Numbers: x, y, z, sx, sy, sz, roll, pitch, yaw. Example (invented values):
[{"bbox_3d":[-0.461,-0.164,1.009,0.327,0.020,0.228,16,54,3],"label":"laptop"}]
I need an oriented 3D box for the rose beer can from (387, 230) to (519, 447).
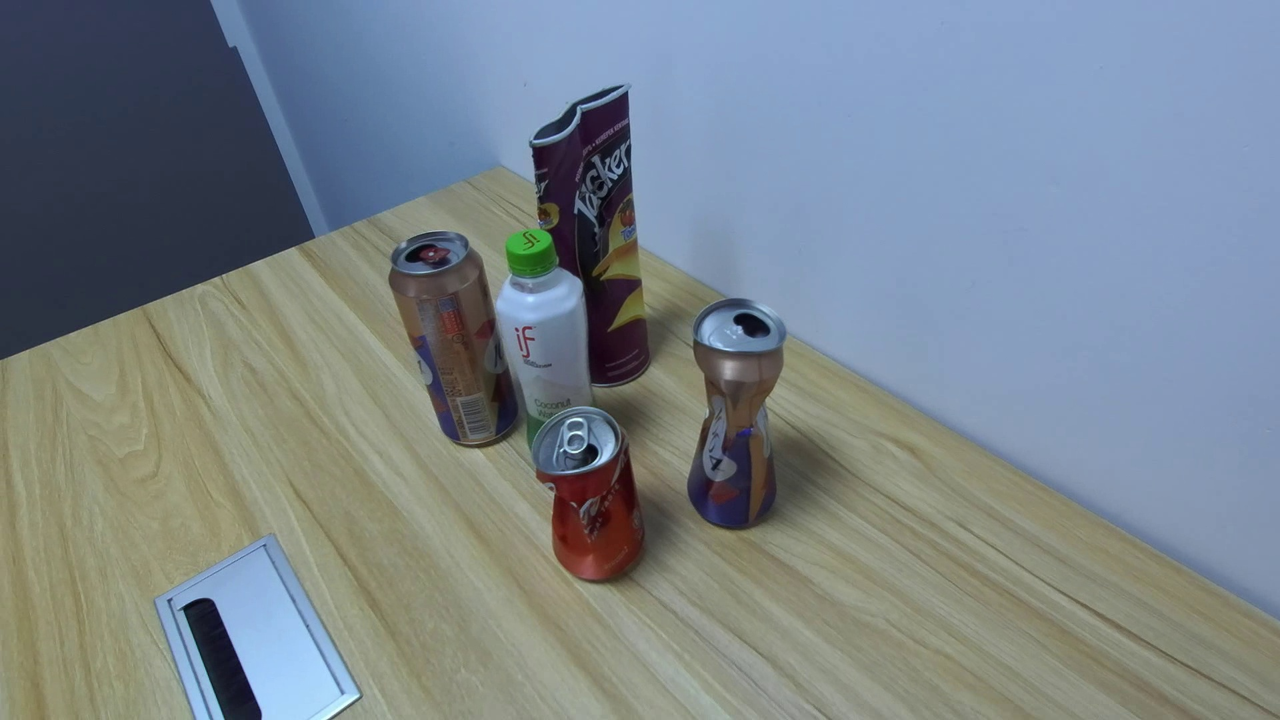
[{"bbox_3d":[-0.141,-0.011,0.549,0.068,0.169,0.068,-4,39,4],"label":"rose beer can"}]

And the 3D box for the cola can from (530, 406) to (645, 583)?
[{"bbox_3d":[-0.032,0.087,0.465,0.065,0.113,0.069,20,48,28],"label":"cola can"}]

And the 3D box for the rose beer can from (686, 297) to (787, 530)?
[{"bbox_3d":[0.062,0.041,0.471,0.068,0.162,0.073,-28,47,-26],"label":"rose beer can"}]

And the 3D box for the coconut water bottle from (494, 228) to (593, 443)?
[{"bbox_3d":[-0.064,-0.003,0.509,0.063,0.189,0.063,-3,39,3],"label":"coconut water bottle"}]

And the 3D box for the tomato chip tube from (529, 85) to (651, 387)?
[{"bbox_3d":[-0.036,-0.085,0.569,0.090,0.236,0.077,-12,42,-11],"label":"tomato chip tube"}]
